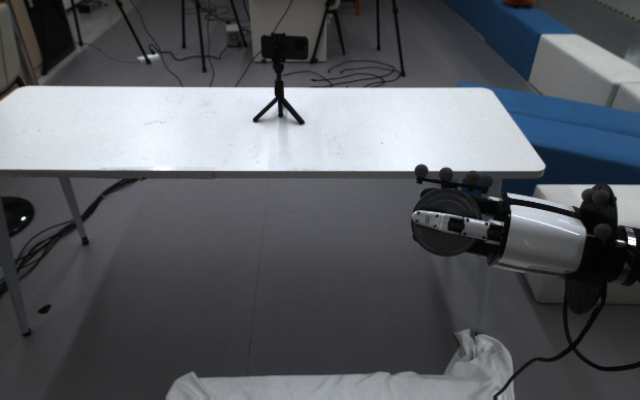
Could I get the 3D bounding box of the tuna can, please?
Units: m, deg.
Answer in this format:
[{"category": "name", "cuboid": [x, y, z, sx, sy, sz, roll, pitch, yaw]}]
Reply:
[{"category": "tuna can", "cuboid": [0.161, 0.023, 0.613, 0.085, 0.085, 0.034, 11, 1, 12]}]
